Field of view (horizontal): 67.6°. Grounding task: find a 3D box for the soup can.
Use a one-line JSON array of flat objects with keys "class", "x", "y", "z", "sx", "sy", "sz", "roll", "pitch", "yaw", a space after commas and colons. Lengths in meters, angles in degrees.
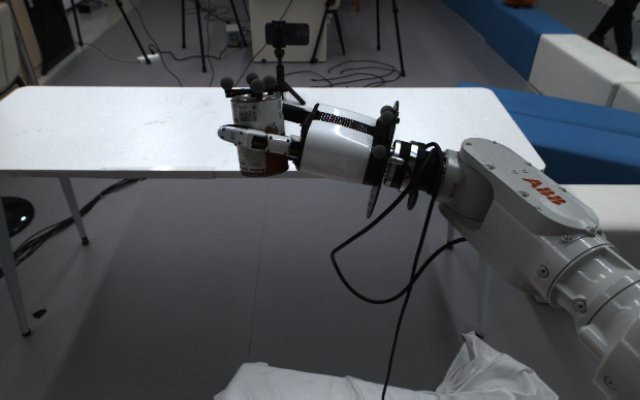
[{"class": "soup can", "x": -0.078, "y": -0.088, "z": 0.641, "sx": 0.067, "sy": 0.101, "sz": 0.067, "roll": -4, "pitch": 21, "yaw": 1}]
